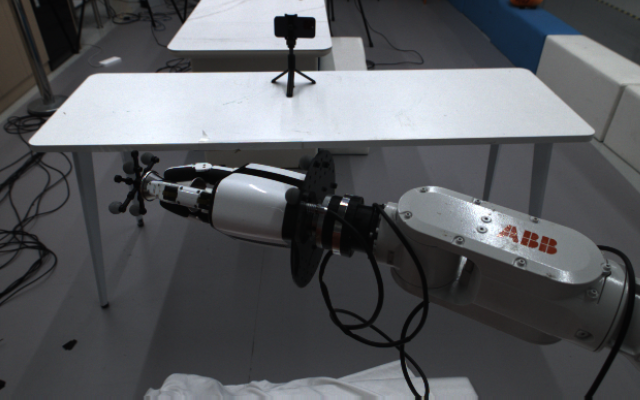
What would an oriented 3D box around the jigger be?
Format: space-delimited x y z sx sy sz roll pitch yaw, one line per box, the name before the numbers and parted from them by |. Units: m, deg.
jigger | -0.180 -0.016 0.601 0.071 0.043 0.043 10 35 16
